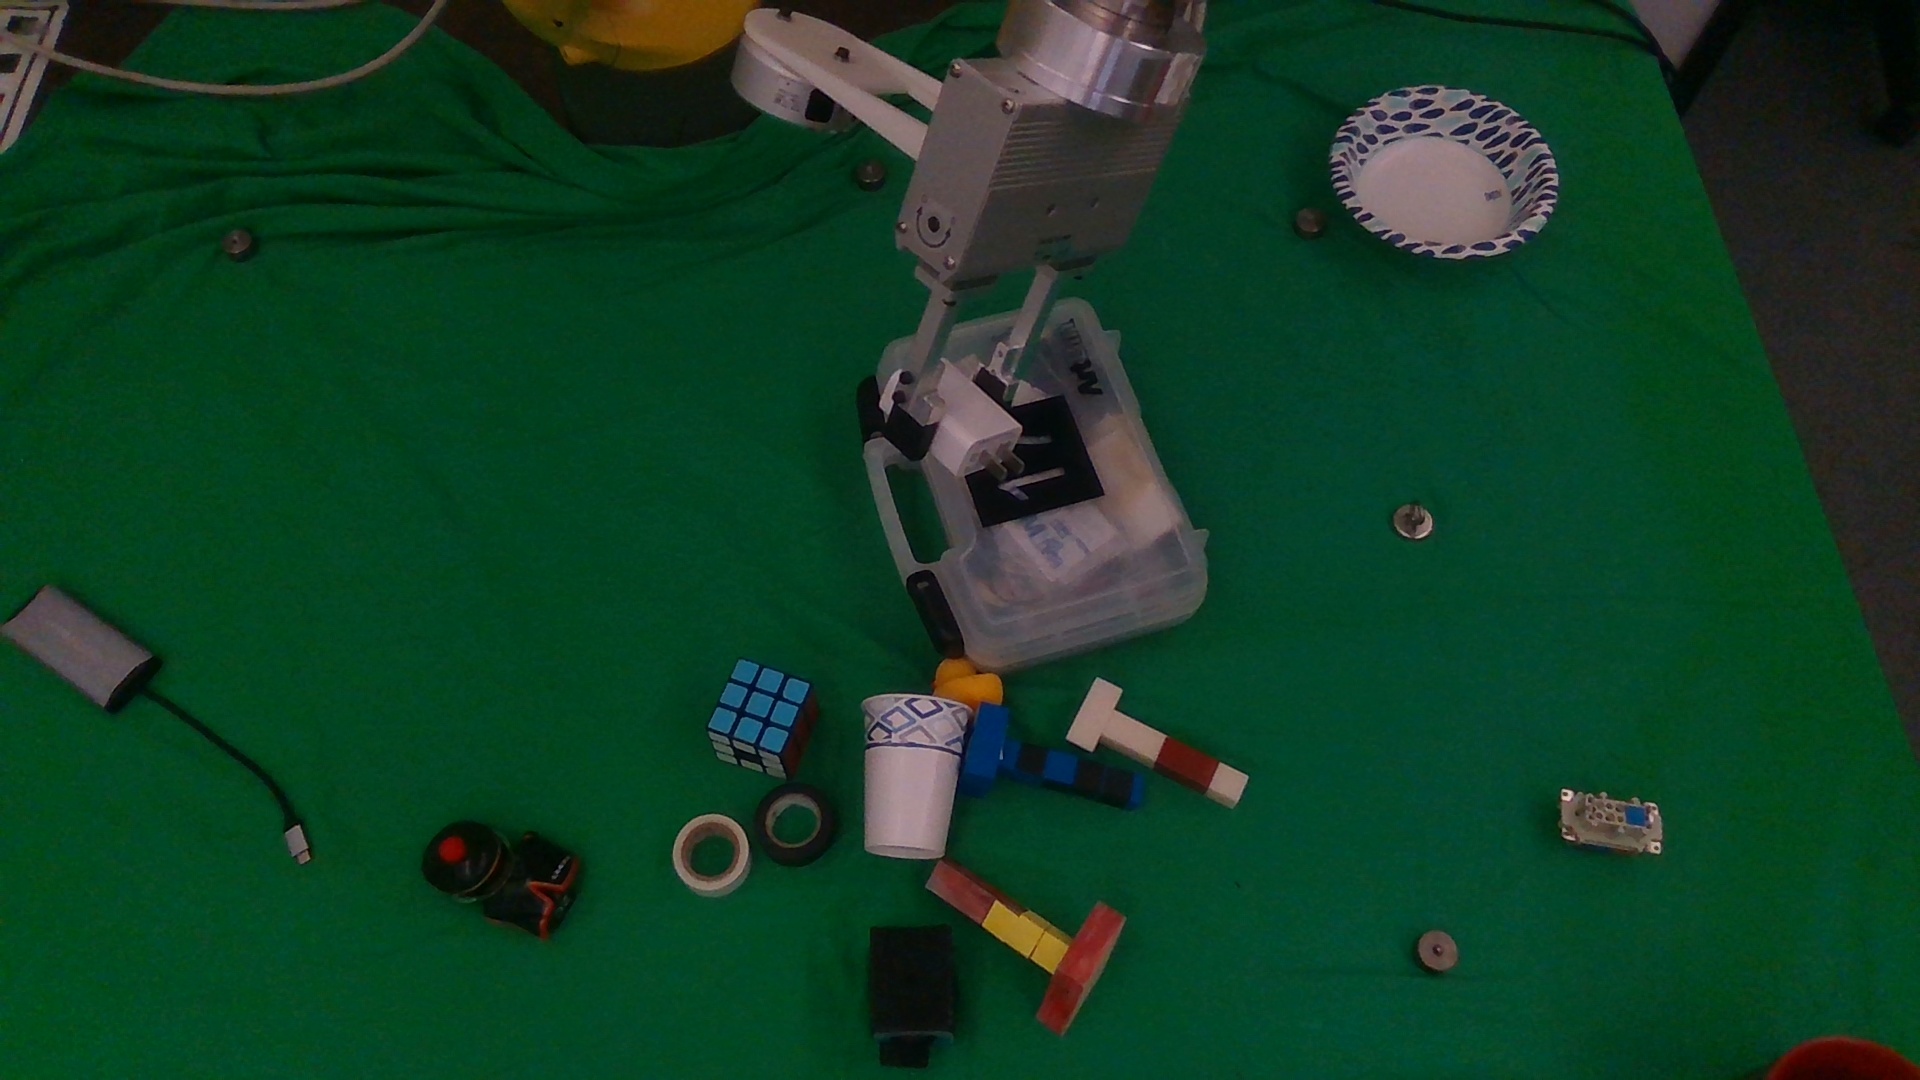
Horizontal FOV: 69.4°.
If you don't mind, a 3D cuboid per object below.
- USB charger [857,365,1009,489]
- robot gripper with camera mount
[{"bbox_3d":[-0.008,-0.051,0.637,0.044,0.029,0.076,-22,53,-36],"label":"USB charger"},{"bbox_3d":[-0.044,-0.157,0.623,0.194,0.159,0.118,43,39,21],"label":"robot gripper with camera mount"}]
